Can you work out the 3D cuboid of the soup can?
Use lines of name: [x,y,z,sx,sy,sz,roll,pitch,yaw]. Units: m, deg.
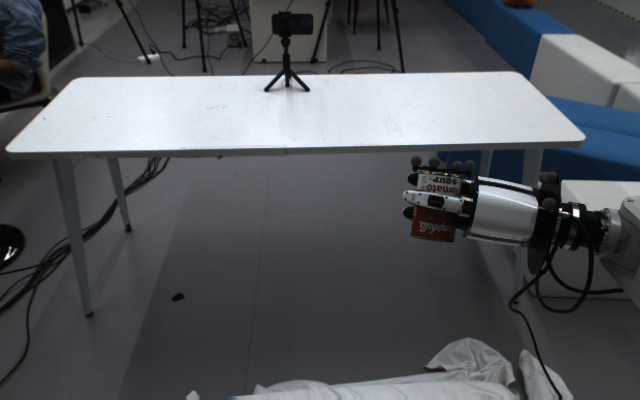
soup can: [0.180,0.009,0.741,0.067,0.101,0.067,7,3,0]
